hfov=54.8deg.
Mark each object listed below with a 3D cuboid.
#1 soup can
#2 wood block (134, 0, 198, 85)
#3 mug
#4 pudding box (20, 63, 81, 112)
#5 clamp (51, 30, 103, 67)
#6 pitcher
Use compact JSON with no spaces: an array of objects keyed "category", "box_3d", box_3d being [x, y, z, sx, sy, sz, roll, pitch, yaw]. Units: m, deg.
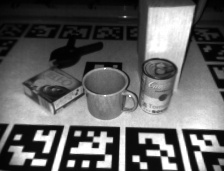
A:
[{"category":"soup can","box_3d":[0.090,-0.008,0.455,0.068,0.102,0.067,-1,45,2]},{"category":"wood block","box_3d":[0.108,-0.107,0.484,0.090,0.207,0.090,0,43,-3]},{"category":"mug","box_3d":[-0.004,0.015,0.450,0.116,0.082,0.094,26,47,28]},{"category":"pudding box","box_3d":[-0.143,0.001,0.504,0.112,0.039,0.090,28,53,28]},{"category":"clamp","box_3d":[-0.116,-0.105,0.624,0.121,0.037,0.166,26,50,17]},{"category":"pitcher","box_3d":[0.135,-0.201,0.562,0.188,0.244,0.132,-3,41,3]}]
